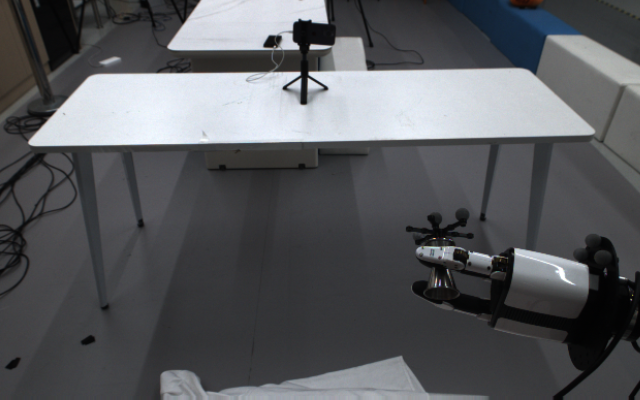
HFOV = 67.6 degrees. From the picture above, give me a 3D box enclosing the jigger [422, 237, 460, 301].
[{"bbox_3d":[0.151,0.085,0.616,0.043,0.043,0.071,5,60,4],"label":"jigger"}]
